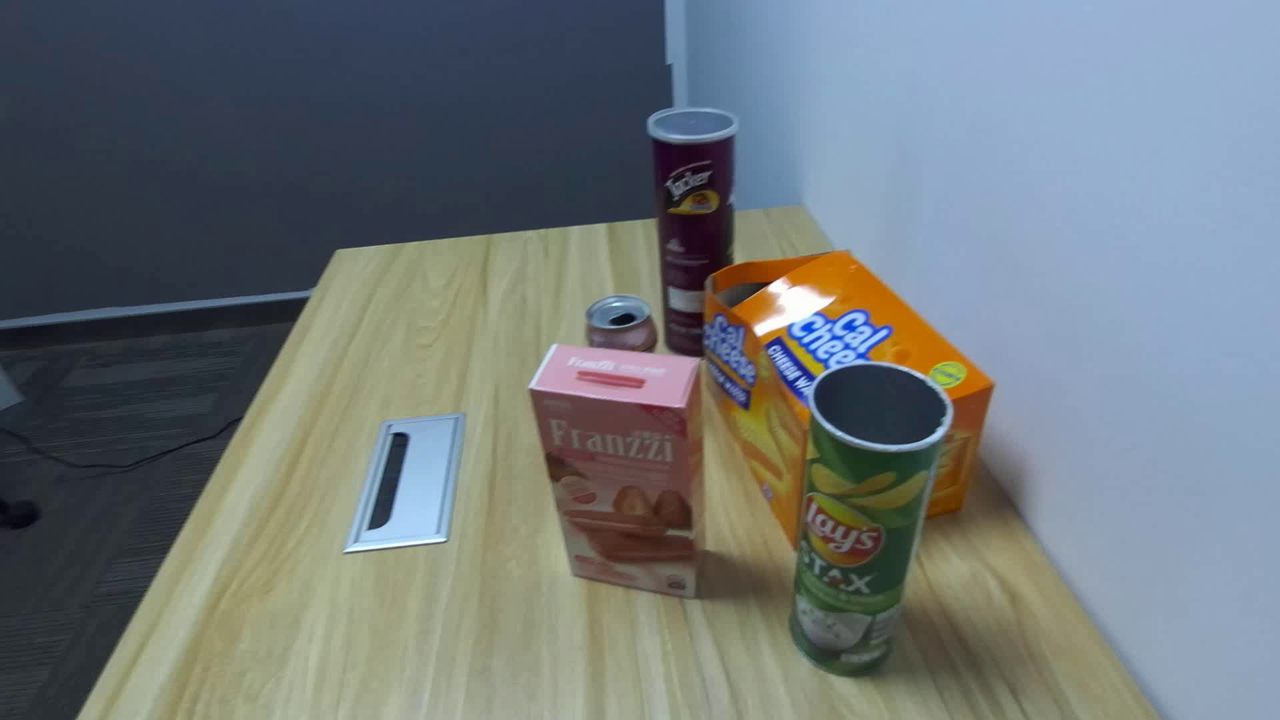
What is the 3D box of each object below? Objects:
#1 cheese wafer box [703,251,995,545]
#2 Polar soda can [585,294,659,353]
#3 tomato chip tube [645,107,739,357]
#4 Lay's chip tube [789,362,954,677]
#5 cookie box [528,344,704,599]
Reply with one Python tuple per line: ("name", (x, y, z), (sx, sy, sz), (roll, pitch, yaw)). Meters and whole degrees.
("cheese wafer box", (0.150, 0.020, 0.592), (0.152, 0.132, 0.229), (-12, 38, -10))
("Polar soda can", (-0.013, 0.008, 0.630), (0.067, 0.122, 0.074), (16, 39, 30))
("tomato chip tube", (0.055, -0.114, 0.693), (0.078, 0.234, 0.078), (-3, 34, 2))
("Lay's chip tube", (0.127, 0.098, 0.410), (0.071, 0.203, 0.071), (-4, 38, 3))
("cookie box", (-0.008, 0.080, 0.474), (0.096, 0.185, 0.048), (5, 39, 14))
